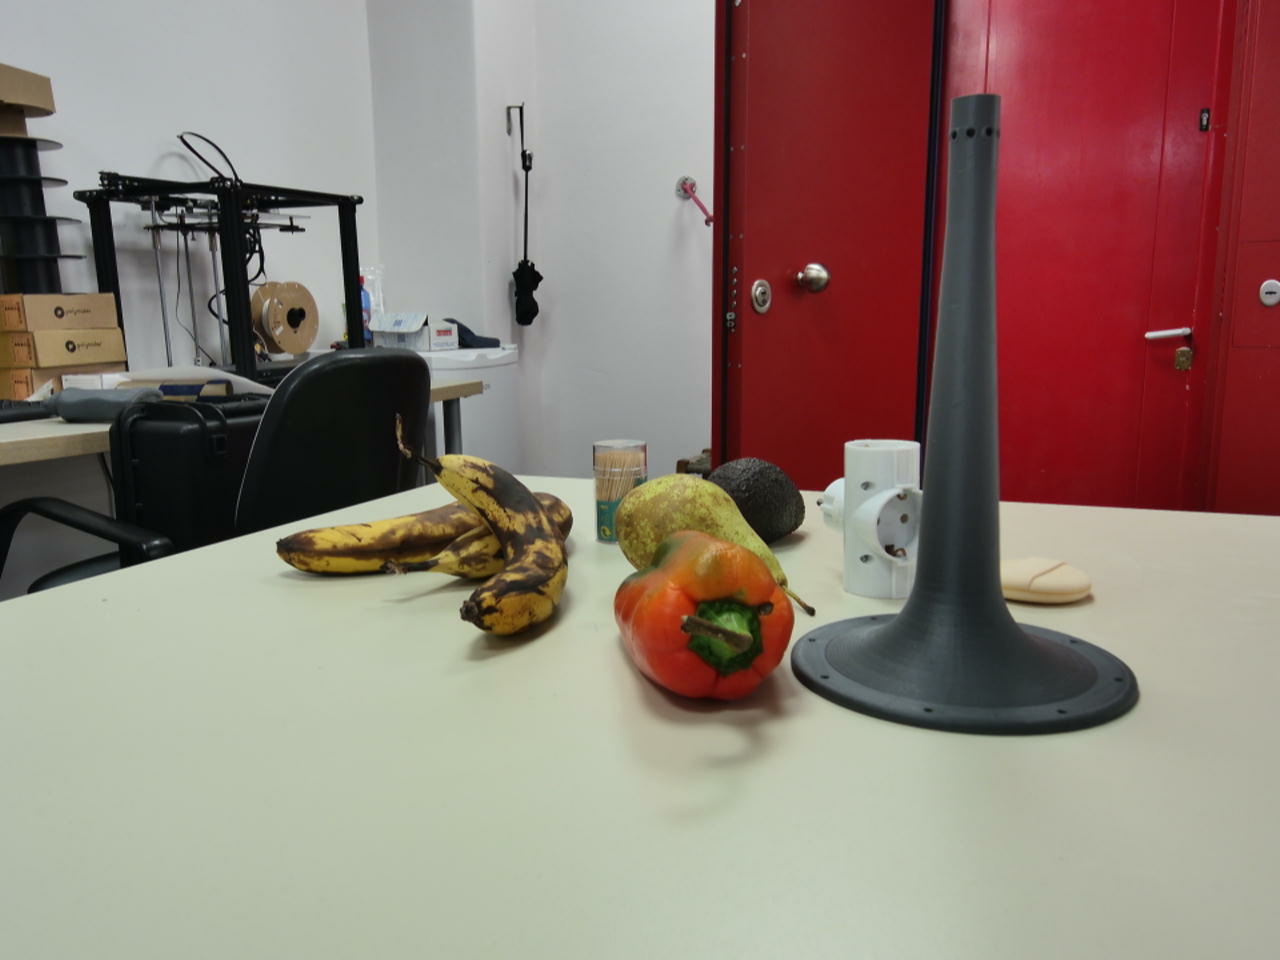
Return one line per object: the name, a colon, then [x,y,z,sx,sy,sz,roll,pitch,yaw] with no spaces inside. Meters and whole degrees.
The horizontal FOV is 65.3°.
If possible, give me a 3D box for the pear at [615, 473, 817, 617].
pear: [0.047,0.035,0.614,0.128,0.075,0.071,1,7,15]
